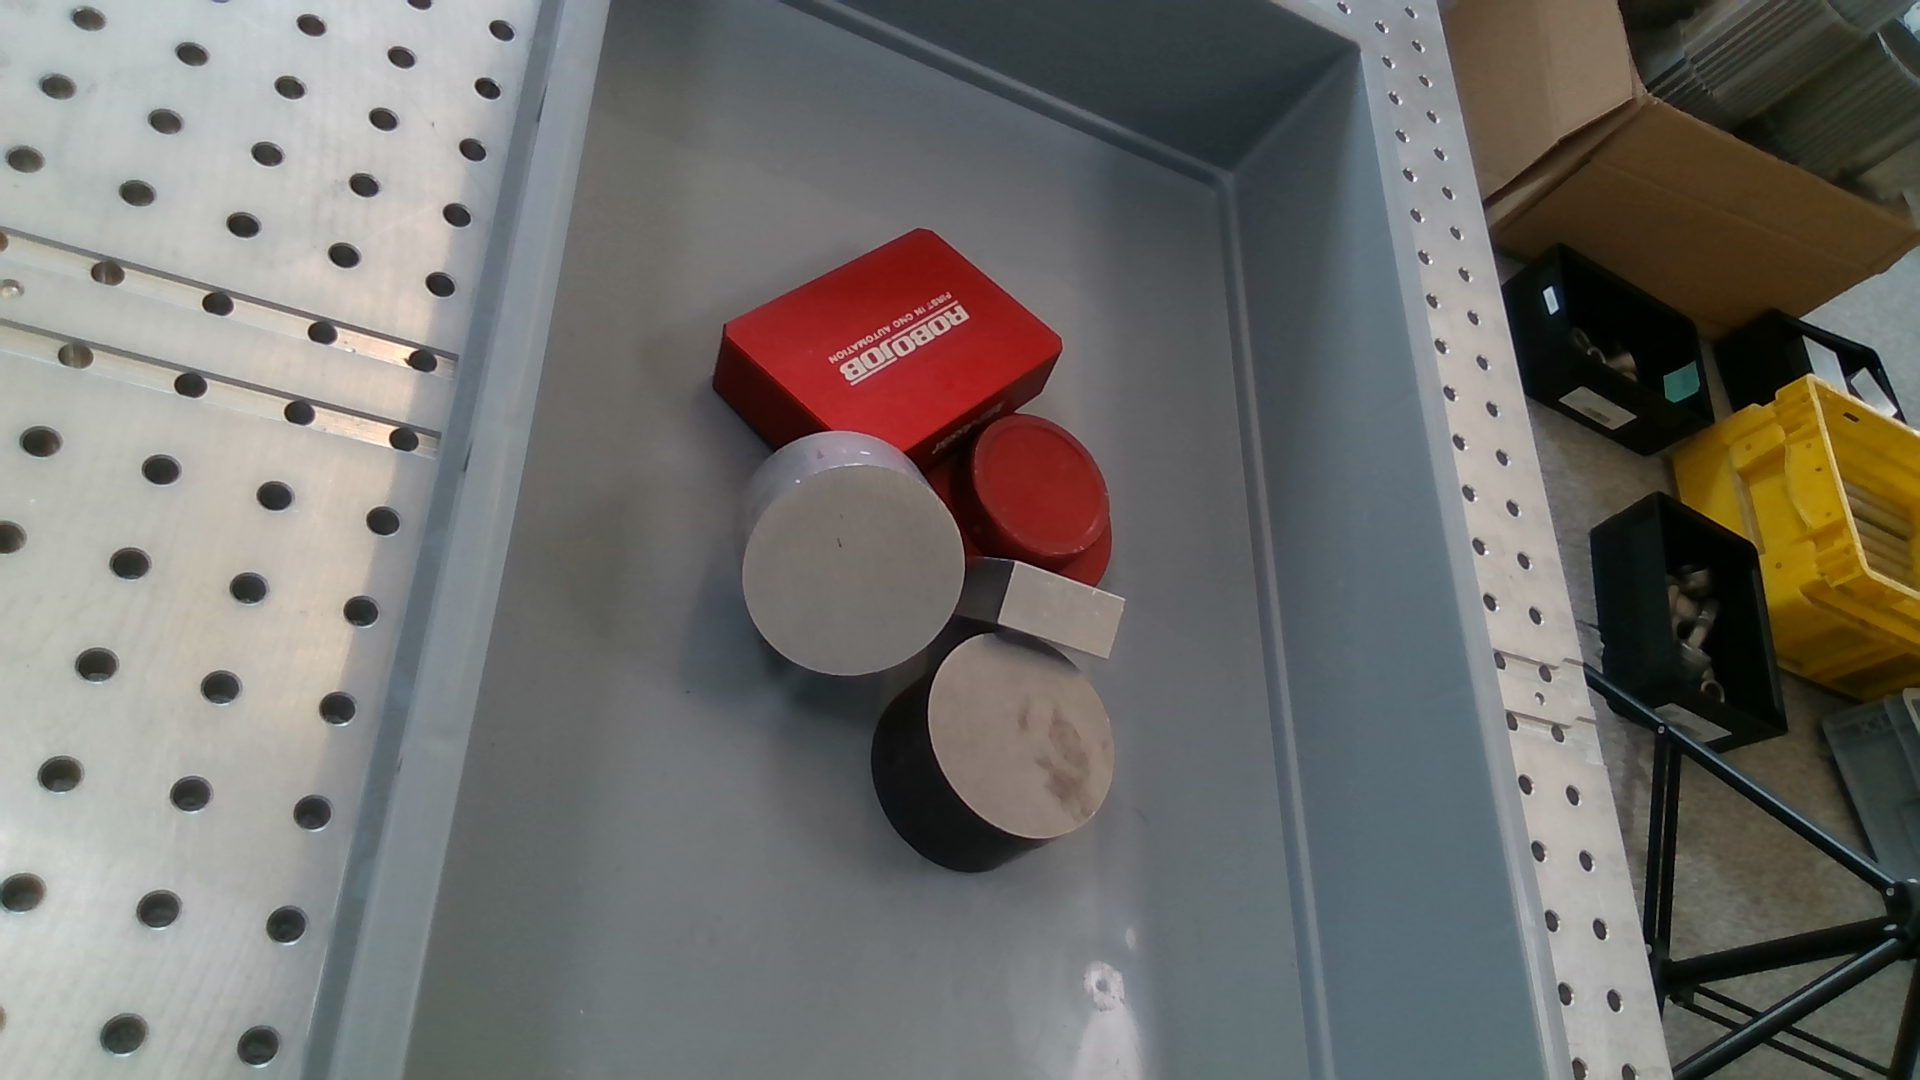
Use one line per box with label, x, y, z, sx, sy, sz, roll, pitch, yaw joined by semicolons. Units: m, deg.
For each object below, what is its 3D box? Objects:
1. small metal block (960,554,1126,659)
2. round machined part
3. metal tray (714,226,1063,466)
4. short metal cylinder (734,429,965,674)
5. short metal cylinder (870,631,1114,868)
small metal block;0.030;0.026;0.549;0.050;0.050;0.025;20;84;-23
round machined part;0.026;-0.016;0.598;0.098;0.042;0.098;14;59;-25
metal tray;-0.029;-0.078;0.591;0.090;0.030;0.130;42;50;14
short metal cylinder;-0.043;0.003;0.513;0.080;0.080;0.050;23;12;-20
short metal cylinder;0.012;0.082;0.533;0.080;0.050;0.080;14;59;-25
